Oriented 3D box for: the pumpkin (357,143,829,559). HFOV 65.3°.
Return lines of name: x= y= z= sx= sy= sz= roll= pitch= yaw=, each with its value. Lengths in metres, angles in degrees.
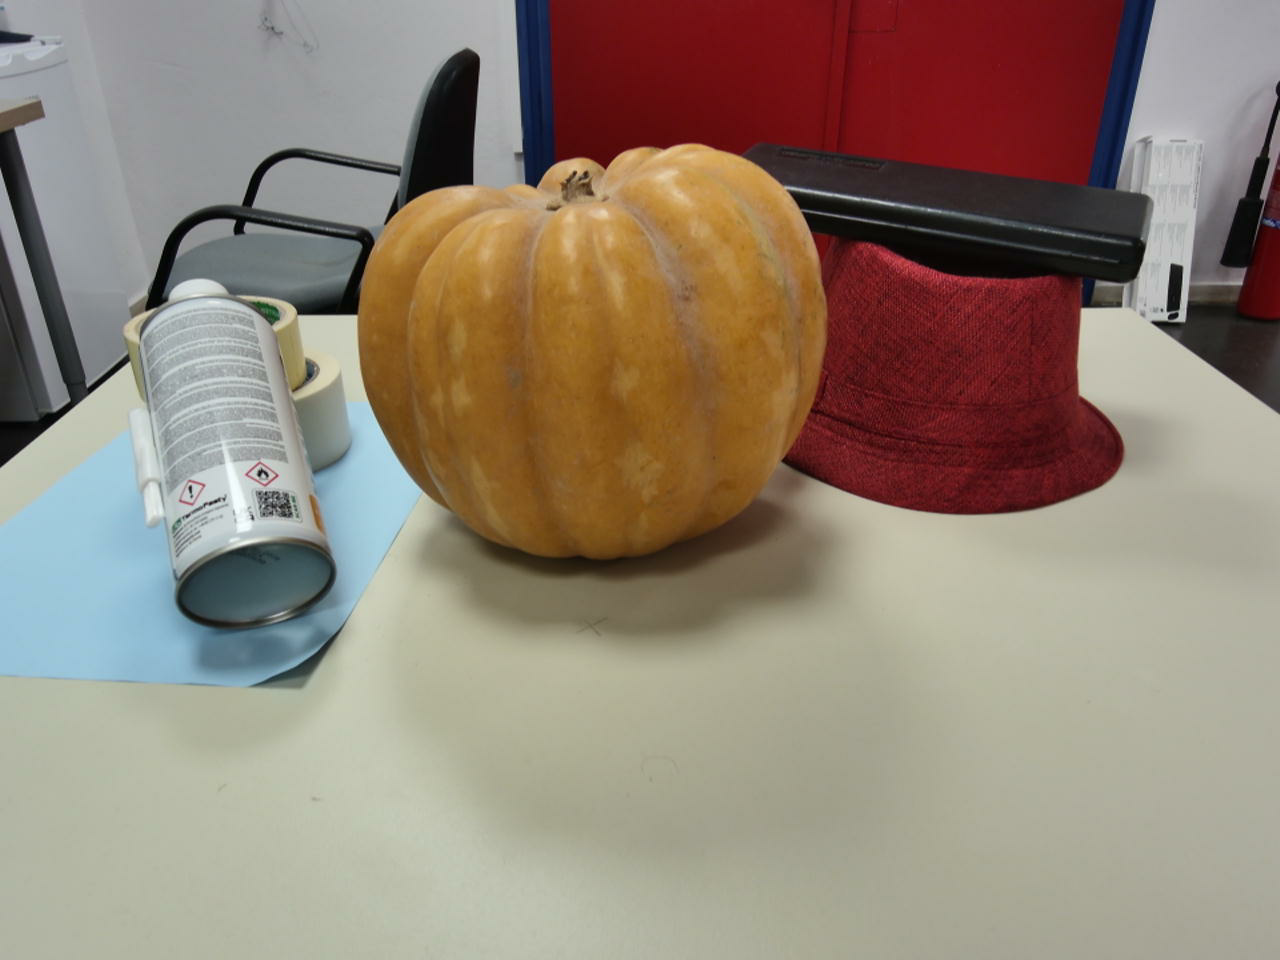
pumpkin: x=-0.019 y=-0.065 z=0.505 sx=0.230 sy=0.194 sz=0.230 roll=0 pitch=26 yaw=0
